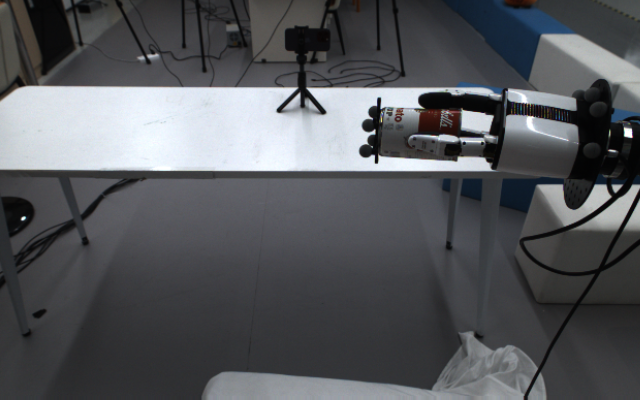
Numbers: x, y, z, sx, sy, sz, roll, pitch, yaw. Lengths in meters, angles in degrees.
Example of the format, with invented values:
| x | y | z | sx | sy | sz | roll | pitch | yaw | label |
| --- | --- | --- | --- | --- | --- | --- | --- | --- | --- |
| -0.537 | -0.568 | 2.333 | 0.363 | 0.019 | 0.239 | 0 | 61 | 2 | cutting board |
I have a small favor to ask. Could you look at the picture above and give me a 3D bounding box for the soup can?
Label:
| x | y | z | sx | sy | sz | roll | pitch | yaw | label |
| --- | --- | --- | --- | --- | --- | --- | --- | --- | --- |
| 0.134 | -0.089 | 0.641 | 0.101 | 0.067 | 0.067 | 5 | 35 | 13 | soup can |
